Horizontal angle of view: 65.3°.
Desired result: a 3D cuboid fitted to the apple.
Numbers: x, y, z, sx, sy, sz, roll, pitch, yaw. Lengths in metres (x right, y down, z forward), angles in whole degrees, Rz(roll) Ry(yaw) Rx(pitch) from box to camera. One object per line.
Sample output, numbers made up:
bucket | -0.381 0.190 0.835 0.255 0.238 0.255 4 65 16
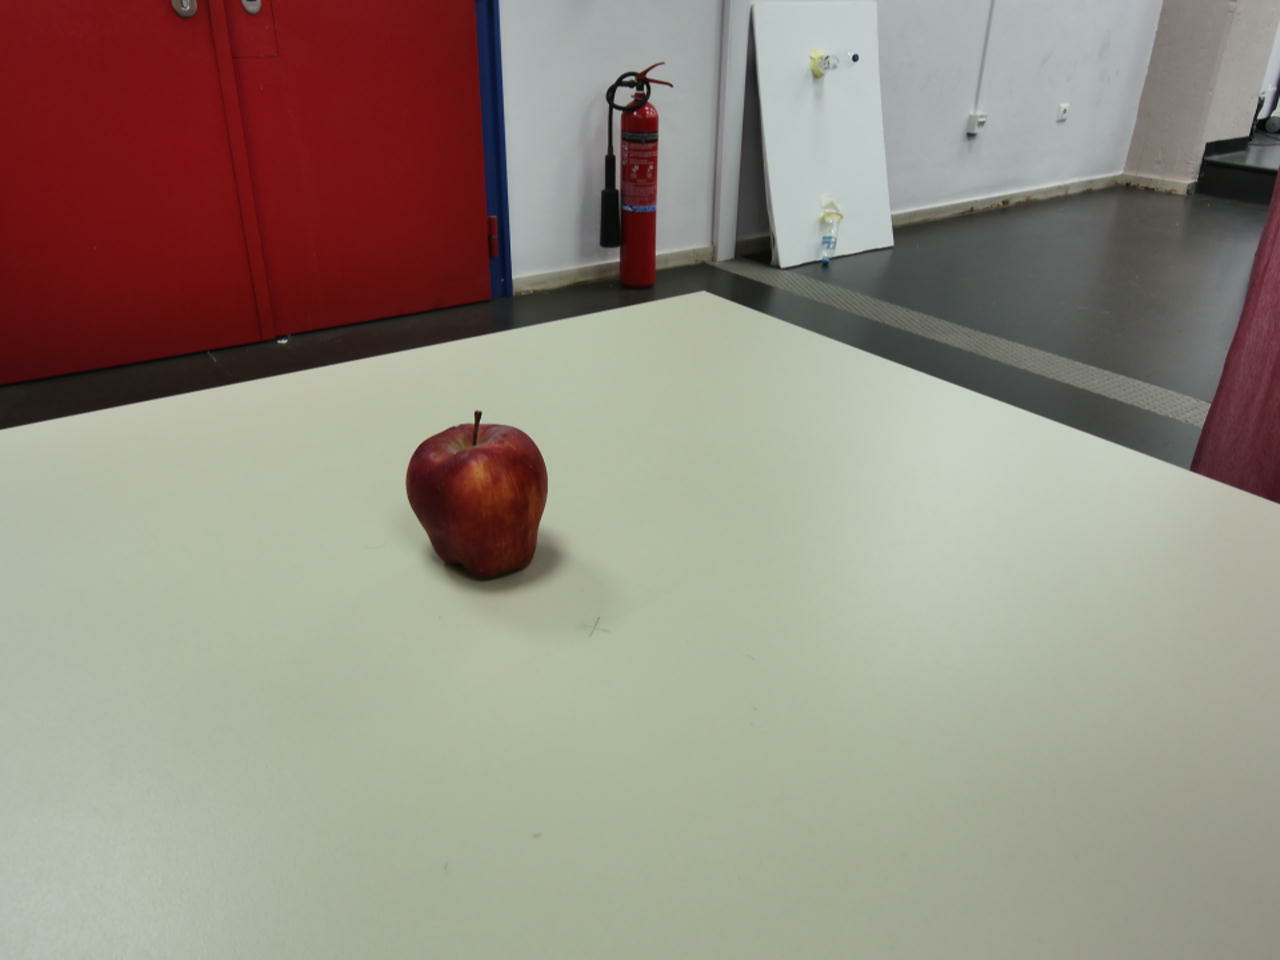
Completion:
apple | -0.091 0.005 0.559 0.083 0.090 0.083 0 26 0
